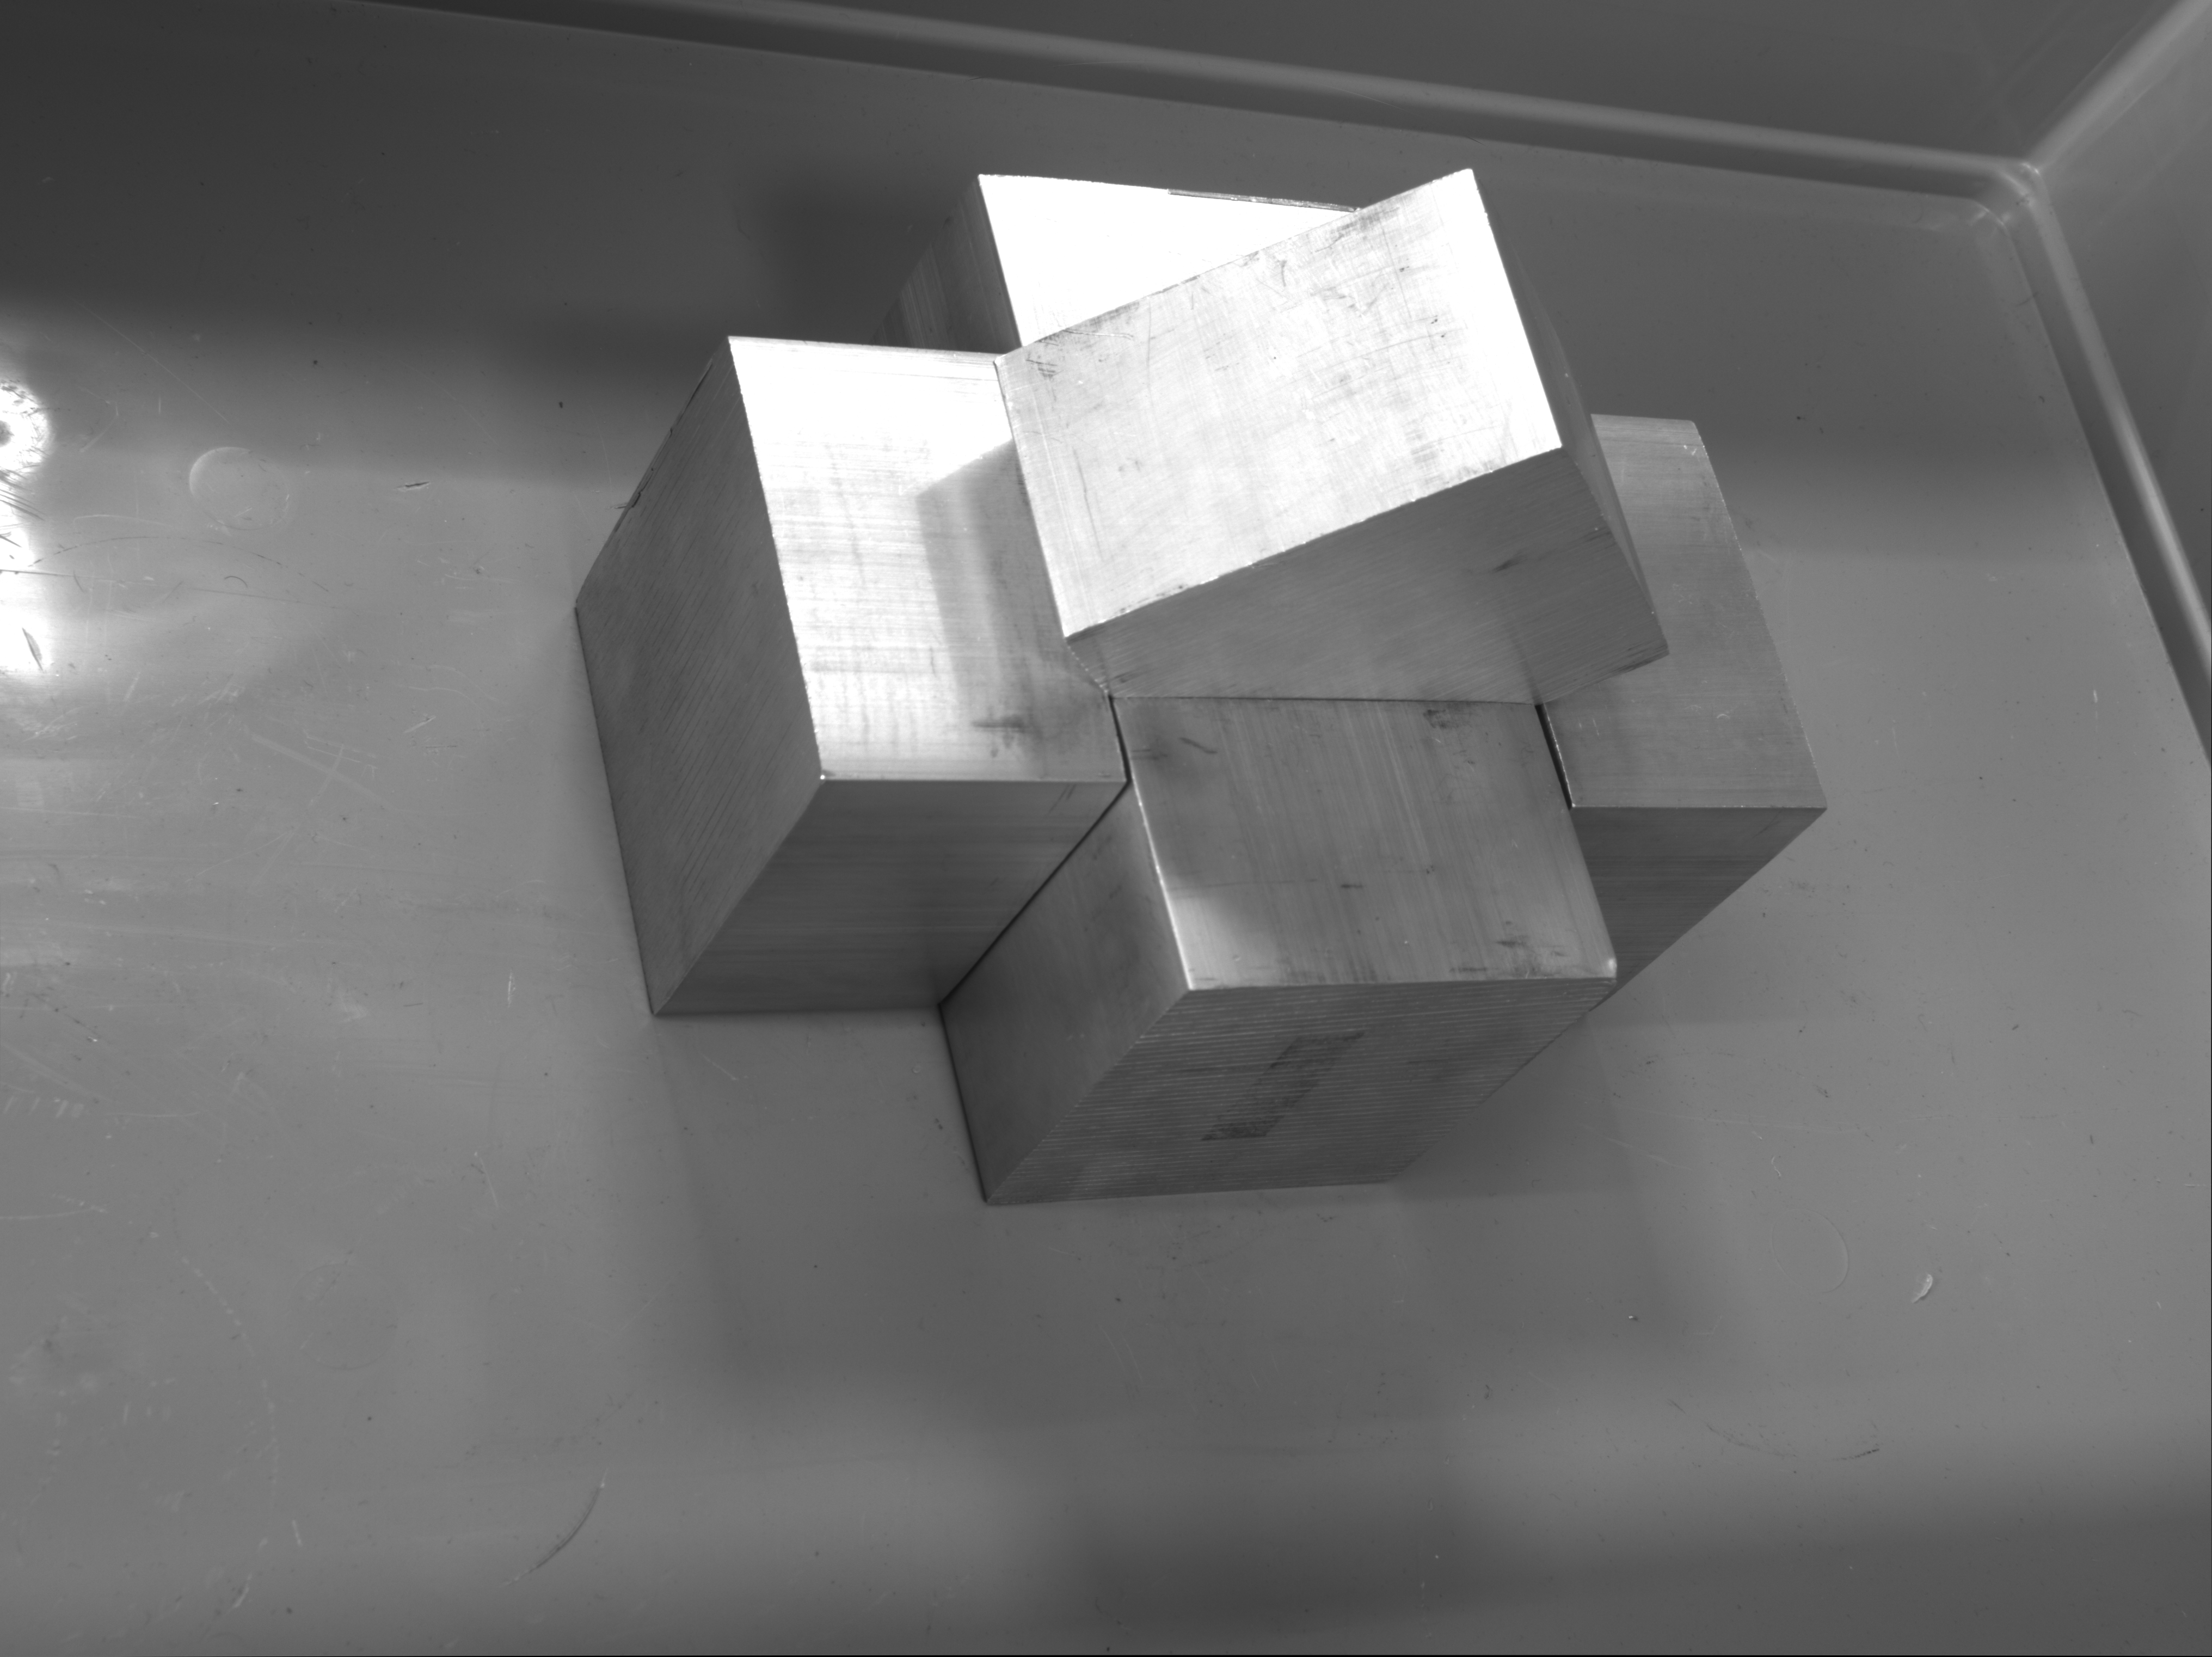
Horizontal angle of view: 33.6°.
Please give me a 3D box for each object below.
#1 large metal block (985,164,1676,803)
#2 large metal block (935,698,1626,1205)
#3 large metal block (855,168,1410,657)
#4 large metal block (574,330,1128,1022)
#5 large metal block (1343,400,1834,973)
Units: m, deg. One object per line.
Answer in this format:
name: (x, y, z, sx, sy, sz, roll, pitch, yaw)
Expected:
large metal block: (0.037, -0.050, 0.580, 0.080, 0.080, 0.050, 45, 27, -62)
large metal block: (0.025, 0.021, 0.603, 0.080, 0.080, 0.050, 0, 62, -28)
large metal block: (0.003, -0.068, 0.645, 0.080, 0.080, 0.050, 0, 62, -28)
large metal block: (-0.044, -0.023, 0.593, 0.050, 0.080, 0.080, 0, 62, -28)
large metal block: (0.075, -0.021, 0.653, 0.050, 0.080, 0.080, 0, 61, -28)
